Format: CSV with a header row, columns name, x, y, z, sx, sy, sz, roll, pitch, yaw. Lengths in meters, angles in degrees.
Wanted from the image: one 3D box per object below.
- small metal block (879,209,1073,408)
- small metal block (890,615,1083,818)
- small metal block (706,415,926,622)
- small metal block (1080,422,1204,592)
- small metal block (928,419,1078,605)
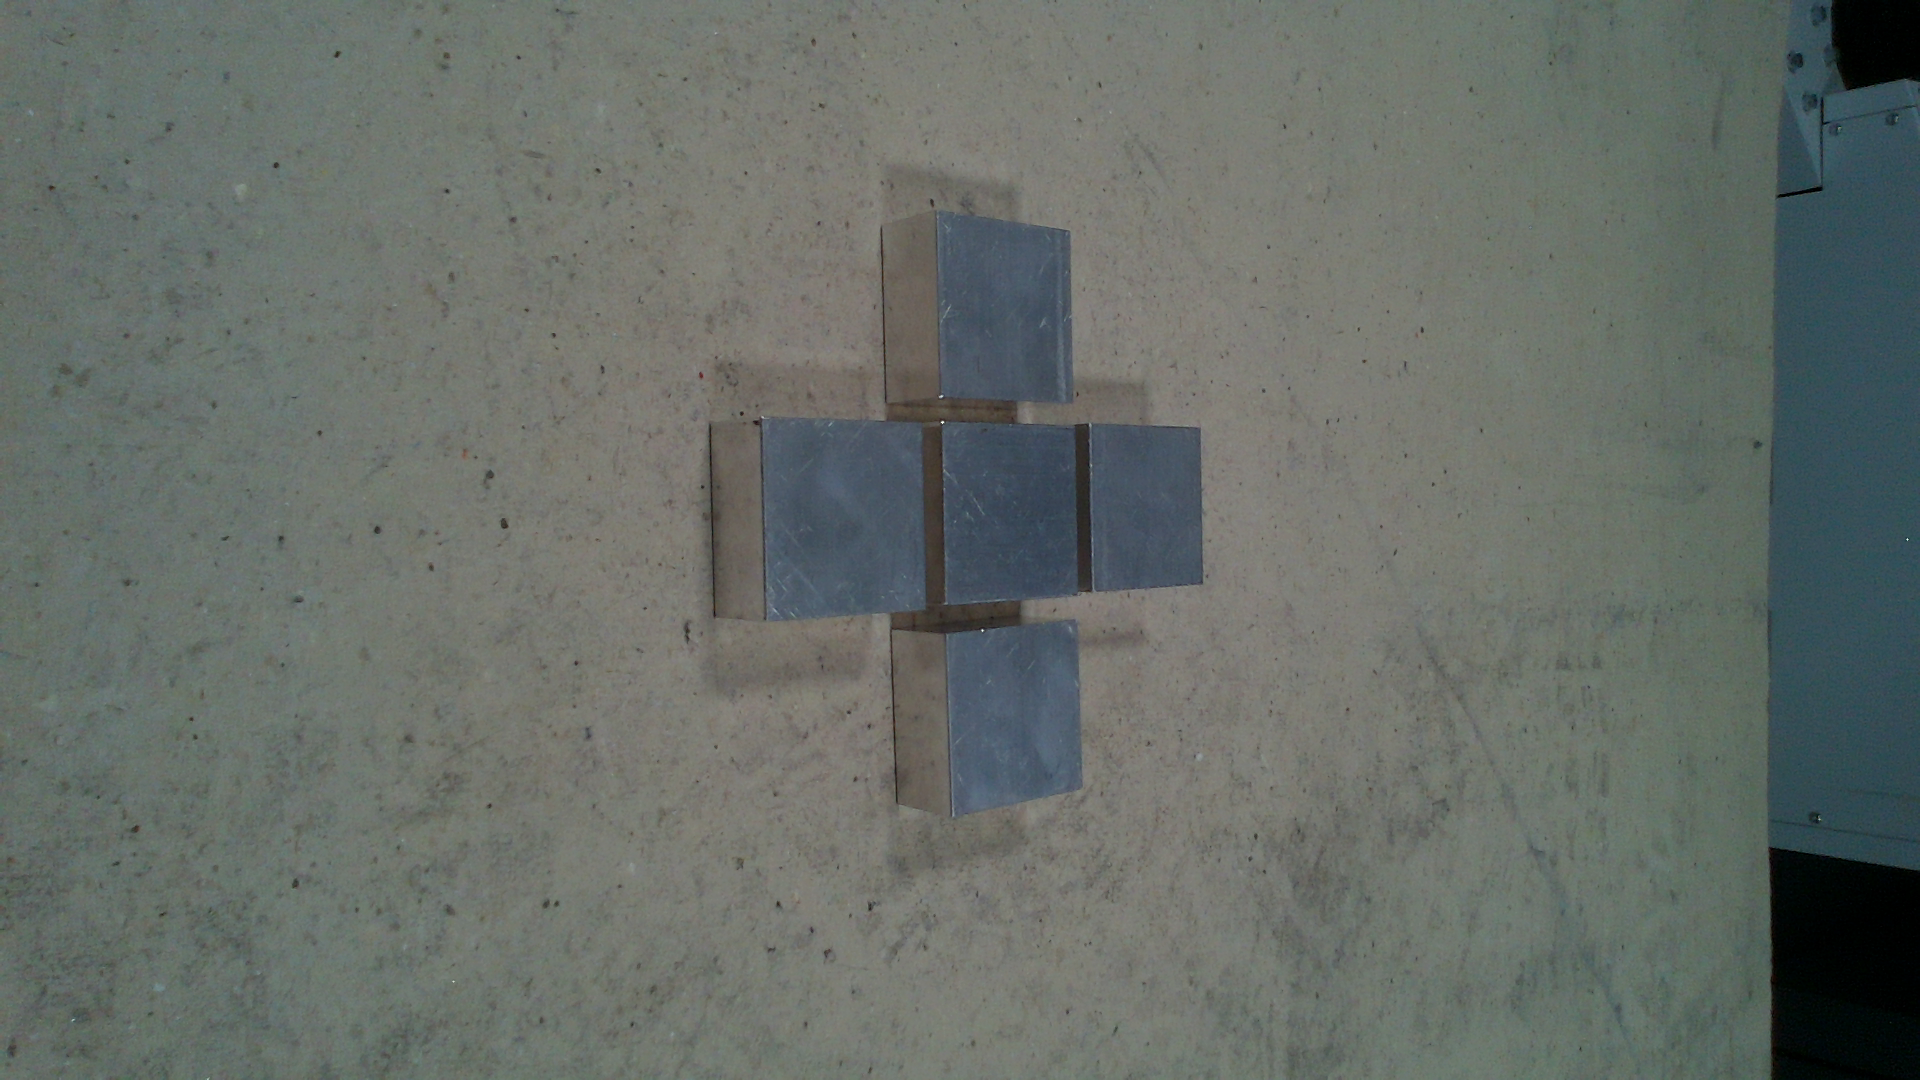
name,x,y,z,sx,sy,sz,roll,pitch,yaw
small metal block,0.005,-0.064,0.393,0.050,0.025,0.050,-2,92,-40
small metal block,0.008,0.049,0.396,0.050,0.025,0.050,-3,92,-40
small metal block,-0.037,-0.006,0.358,0.050,0.025,0.050,-2,92,-40
small metal block,0.050,-0.011,0.431,0.050,0.025,0.050,-2,92,-40
small metal block,0.007,-0.008,0.395,0.050,0.025,0.050,-2,92,-40
